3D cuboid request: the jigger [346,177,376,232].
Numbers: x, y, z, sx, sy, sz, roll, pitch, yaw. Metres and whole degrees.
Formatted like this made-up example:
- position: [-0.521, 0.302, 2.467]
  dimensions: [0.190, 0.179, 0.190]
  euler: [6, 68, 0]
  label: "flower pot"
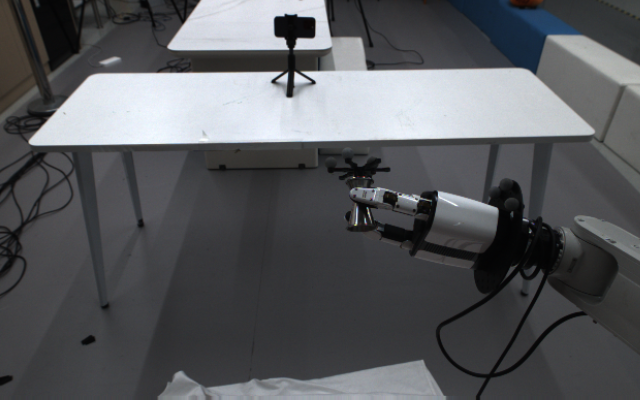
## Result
- position: [0.056, 0.005, 0.664]
  dimensions: [0.043, 0.043, 0.071]
  euler: [0, 75, -3]
  label: "jigger"
